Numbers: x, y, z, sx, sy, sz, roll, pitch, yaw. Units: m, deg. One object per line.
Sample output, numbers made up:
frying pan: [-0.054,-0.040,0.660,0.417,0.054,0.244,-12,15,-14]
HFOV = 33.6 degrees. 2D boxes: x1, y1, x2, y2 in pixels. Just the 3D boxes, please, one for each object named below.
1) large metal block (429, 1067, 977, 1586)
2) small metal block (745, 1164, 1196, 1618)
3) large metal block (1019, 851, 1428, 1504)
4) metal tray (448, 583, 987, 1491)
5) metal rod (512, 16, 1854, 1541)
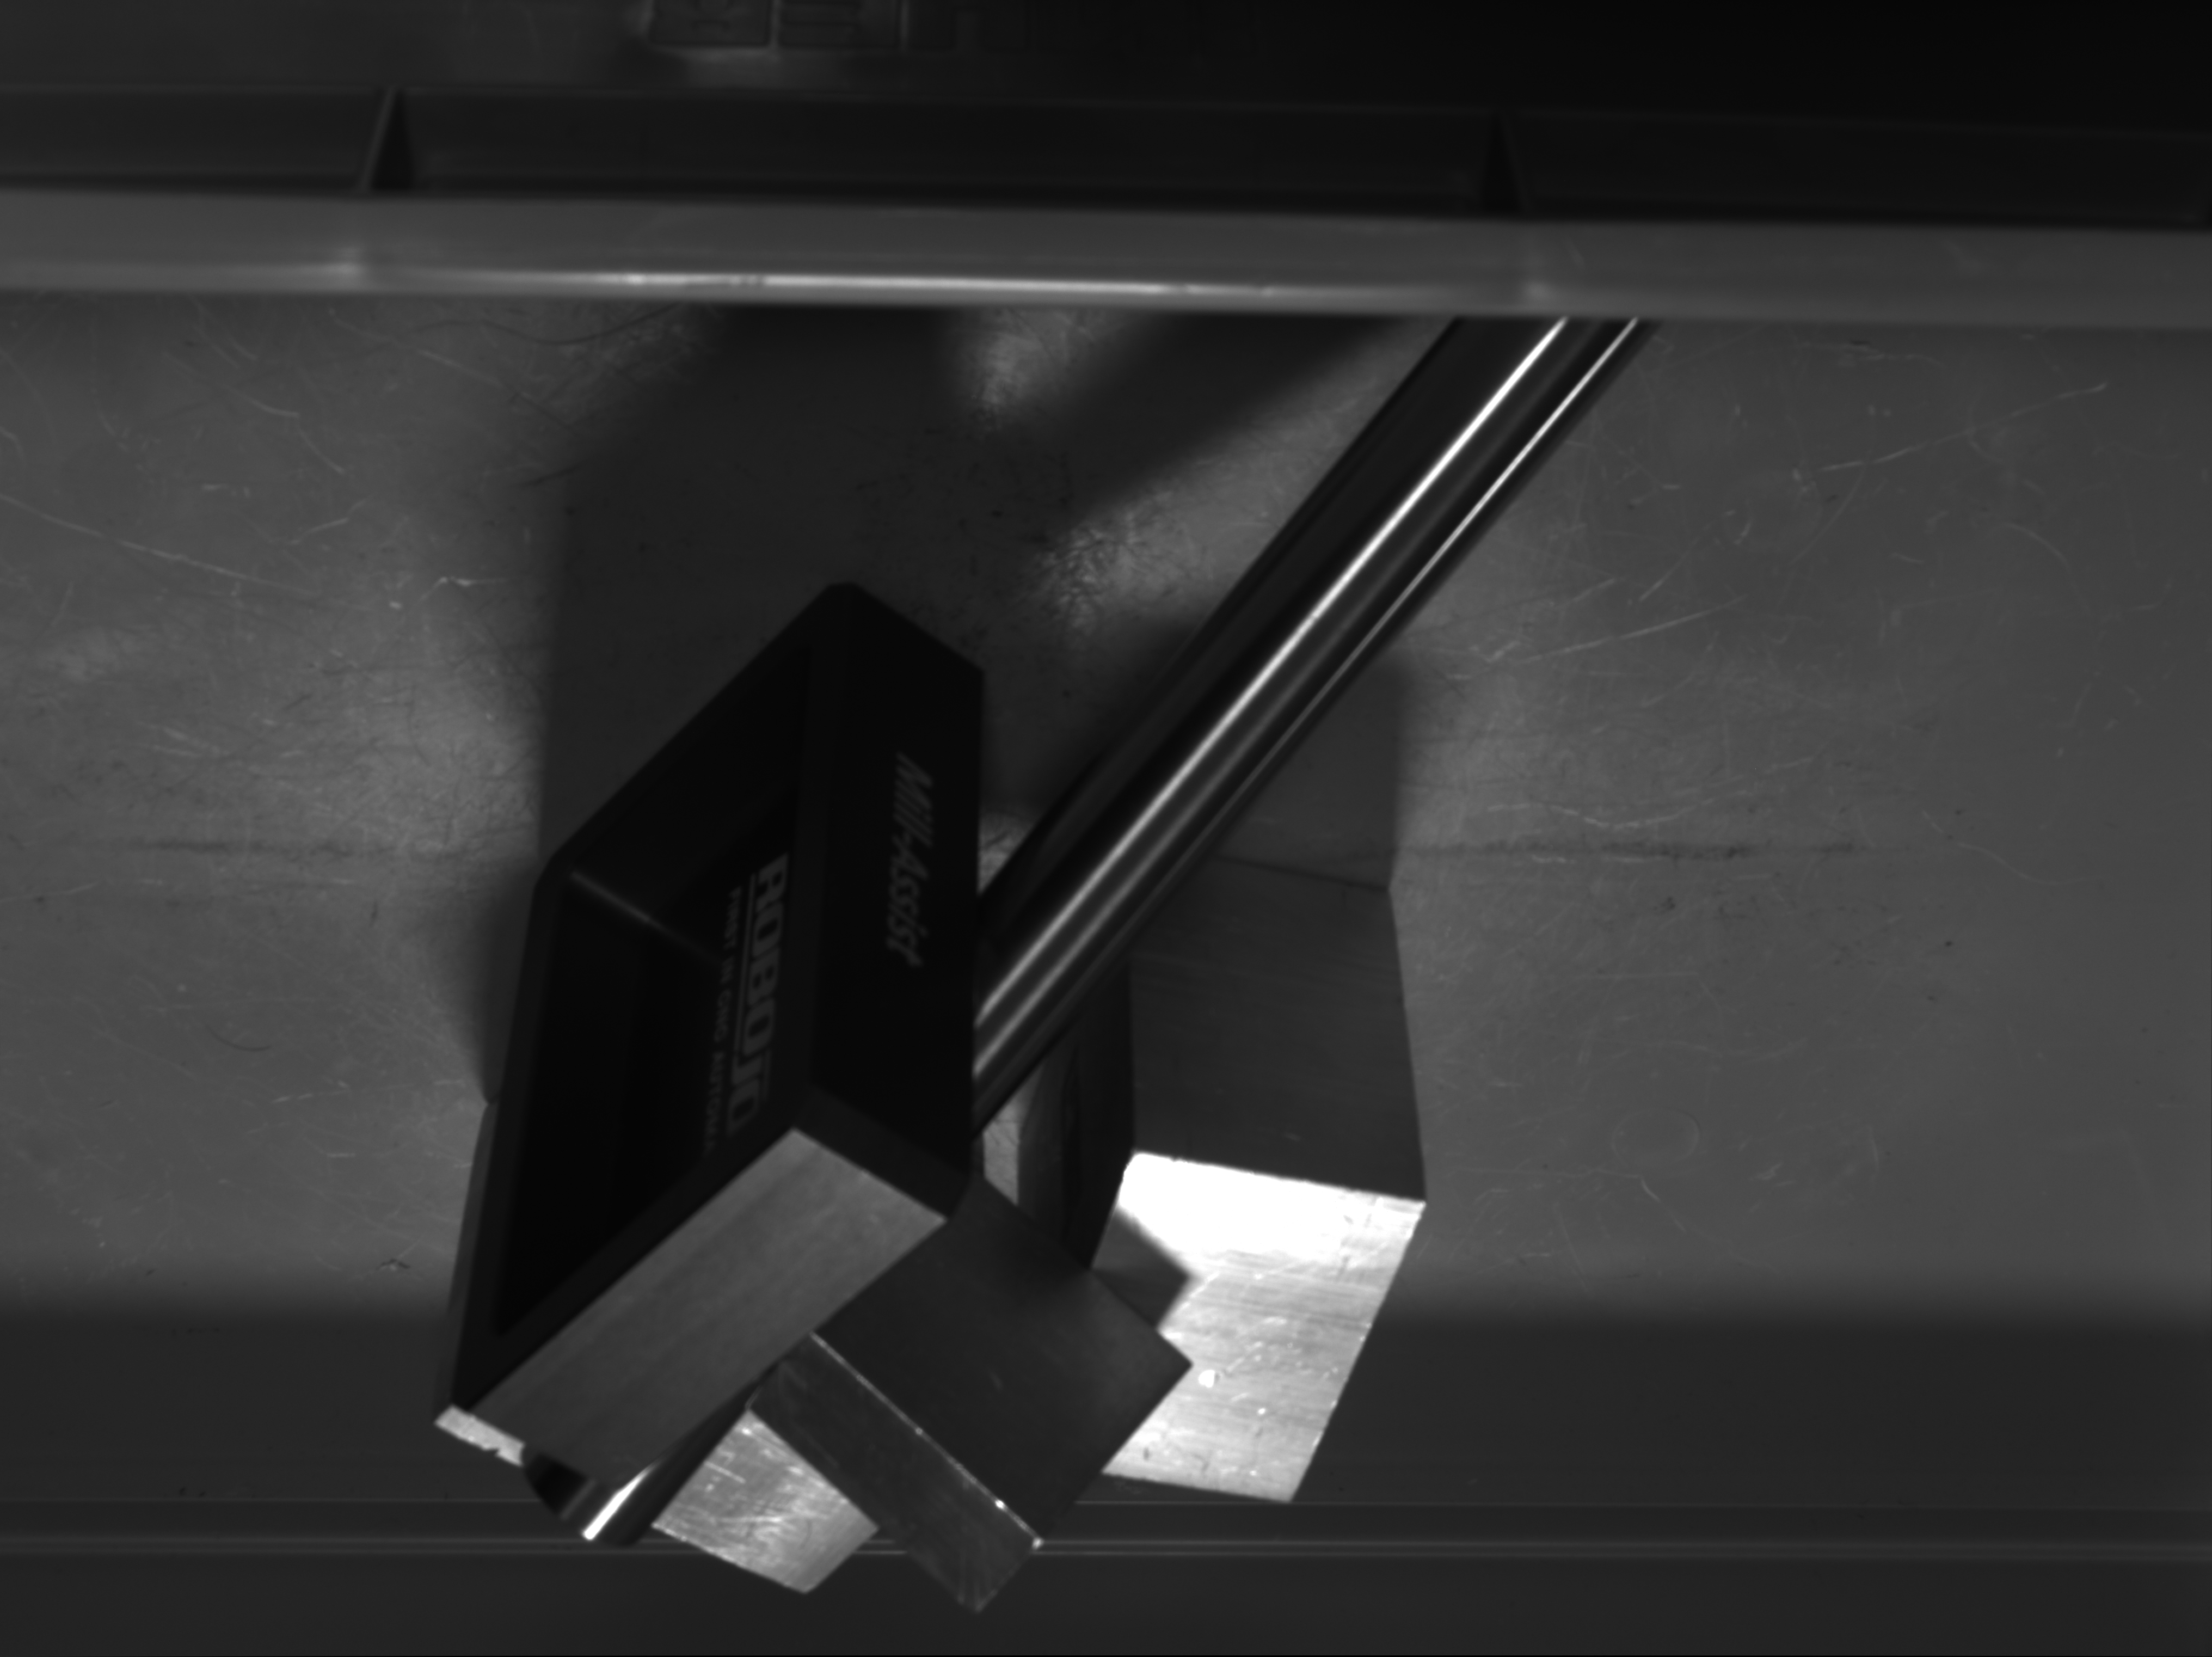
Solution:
large metal block: [-0.071,0.078,0.666,0.080,0.080,0.050,30,123,-24]
small metal block: [-0.022,0.091,0.600,0.050,0.050,0.025,42,132,6]
large metal block: [0.018,0.060,0.654,0.050,0.080,0.080,10,129,-10]
metal tray: [-0.061,0.031,0.592,0.030,0.130,0.090,34,122,-25]
metal rod: [0.007,-0.002,0.577,0.025,0.025,0.300,34,104,-26]
